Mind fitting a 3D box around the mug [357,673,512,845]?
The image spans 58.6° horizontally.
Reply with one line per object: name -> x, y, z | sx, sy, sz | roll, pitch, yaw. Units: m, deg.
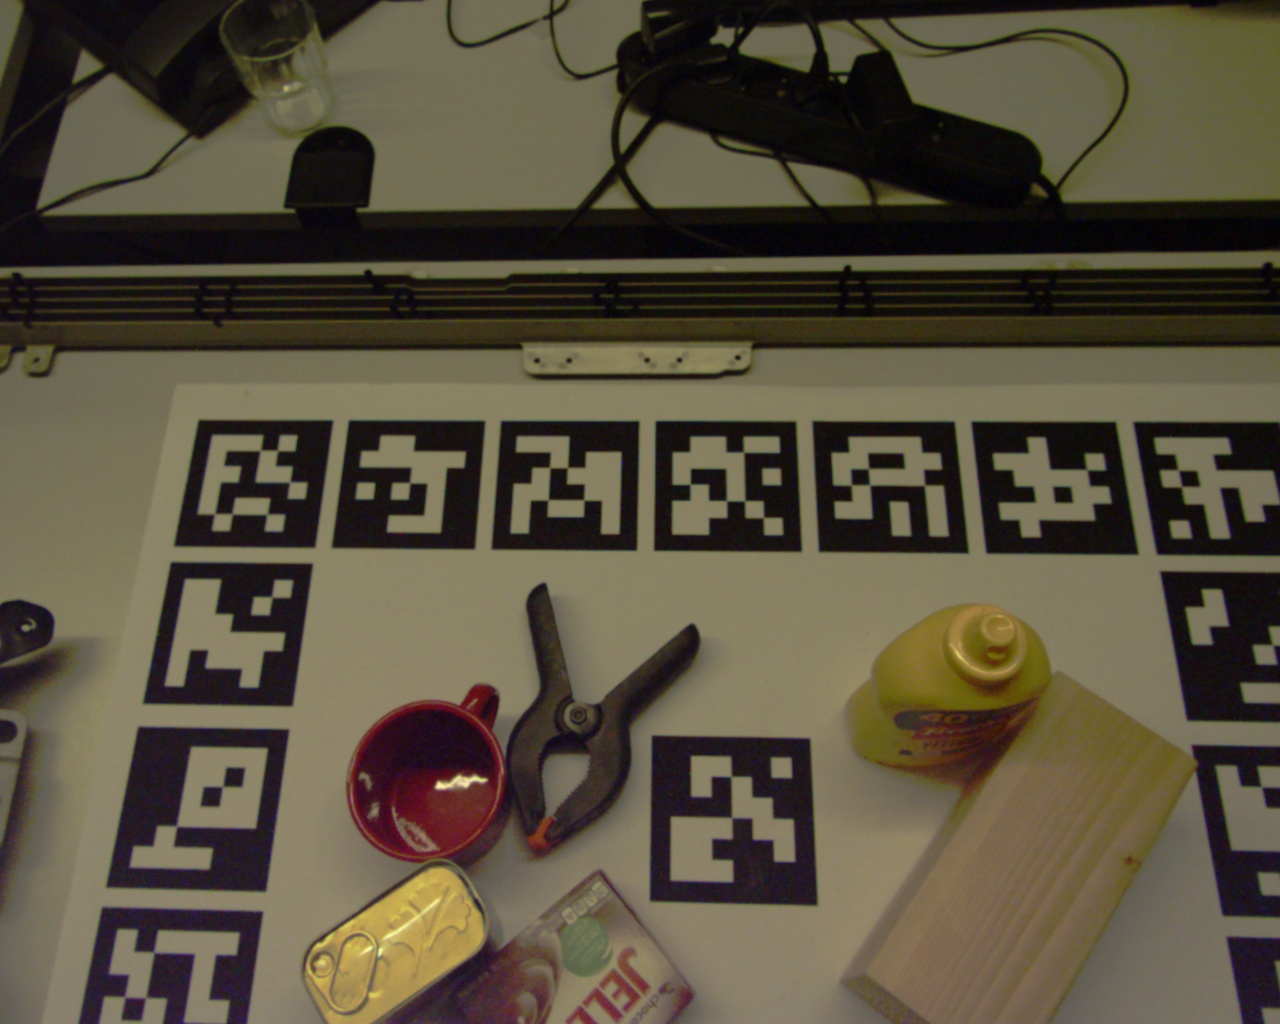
mug -> -0.123, 0.161, 0.744 | 0.094, 0.081, 0.117 | 21, 71, 11

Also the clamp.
clamp -> -0.040, 0.127, 0.759 | 0.122, 0.036, 0.165 | 18, 71, 9

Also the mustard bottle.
mustard bottle -> 0.172, 0.094, 0.673 | 0.096, 0.191, 0.058 | -4, 67, 1

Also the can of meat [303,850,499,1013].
can of meat -> -0.137, 0.249, 0.675 | 0.101, 0.083, 0.058 | -28, 70, -10

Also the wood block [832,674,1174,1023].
wood block -> 0.213, 0.211, 0.680 | 0.090, 0.090, 0.205 | 35, 70, 17

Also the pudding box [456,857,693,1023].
pudding box -> -0.038, 0.281, 0.687 | 0.113, 0.038, 0.091 | -37, 70, -14
